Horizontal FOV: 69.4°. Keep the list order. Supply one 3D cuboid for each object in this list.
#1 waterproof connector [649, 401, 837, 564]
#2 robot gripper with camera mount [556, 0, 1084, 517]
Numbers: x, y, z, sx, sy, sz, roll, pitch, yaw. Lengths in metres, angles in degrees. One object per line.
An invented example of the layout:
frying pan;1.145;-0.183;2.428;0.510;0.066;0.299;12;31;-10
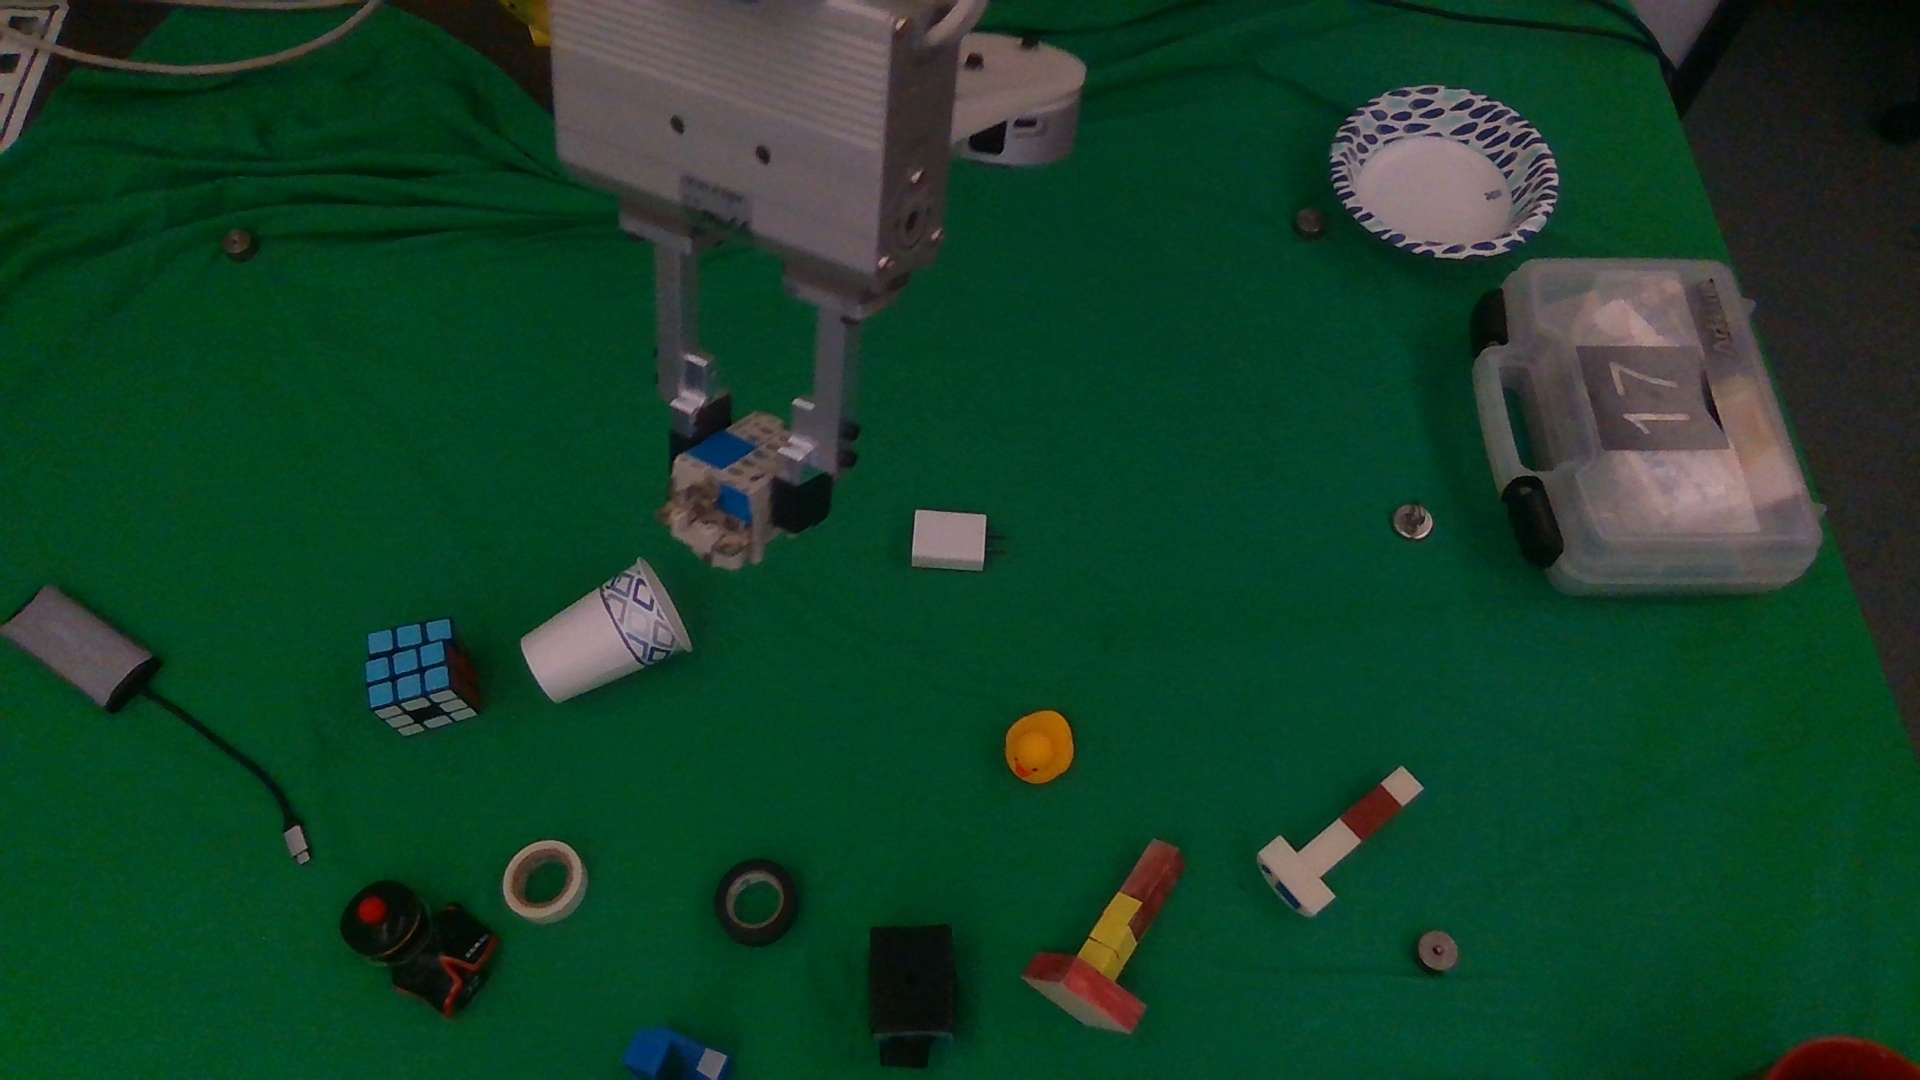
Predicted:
waterproof connector;-0.072;-0.019;0.467;0.035;0.037;0.065;25;41;18
robot gripper with camera mount;-0.025;-0.119;0.486;0.119;0.158;0.193;22;37;21
